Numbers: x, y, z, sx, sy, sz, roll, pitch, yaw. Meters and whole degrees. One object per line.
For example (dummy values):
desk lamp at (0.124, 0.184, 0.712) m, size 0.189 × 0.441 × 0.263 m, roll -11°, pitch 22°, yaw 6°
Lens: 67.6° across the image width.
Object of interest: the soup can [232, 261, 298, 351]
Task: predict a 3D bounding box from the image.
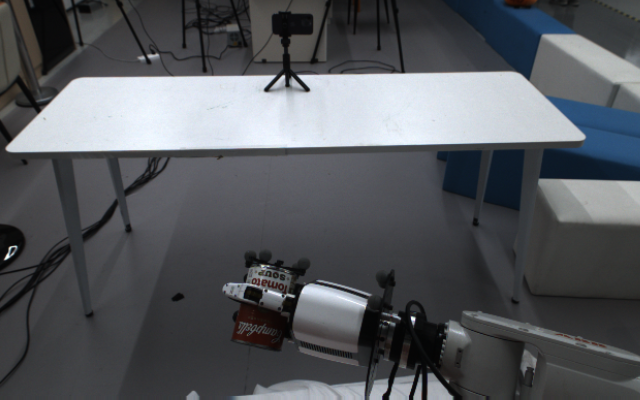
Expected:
soup can at (-0.072, 0.143, 0.637) m, size 0.067 × 0.067 × 0.101 m, roll 9°, pitch 71°, yaw 9°
